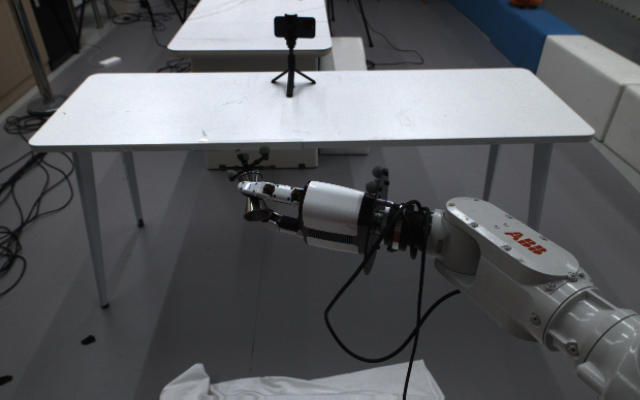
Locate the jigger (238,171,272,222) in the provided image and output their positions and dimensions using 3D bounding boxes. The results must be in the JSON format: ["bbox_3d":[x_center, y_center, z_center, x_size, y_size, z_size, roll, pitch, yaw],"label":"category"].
[{"bbox_3d":[-0.103,-0.006,0.752,0.043,0.043,0.071,-8,66,-14],"label":"jigger"}]
